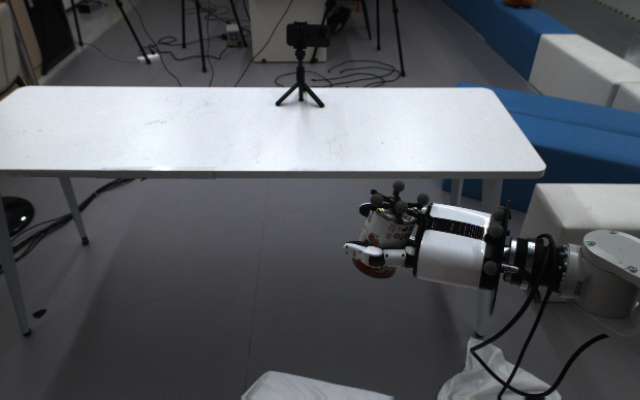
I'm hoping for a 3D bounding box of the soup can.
[{"bbox_3d":[0.094,0.053,0.698,0.067,0.101,0.067,13,30,-8],"label":"soup can"}]
